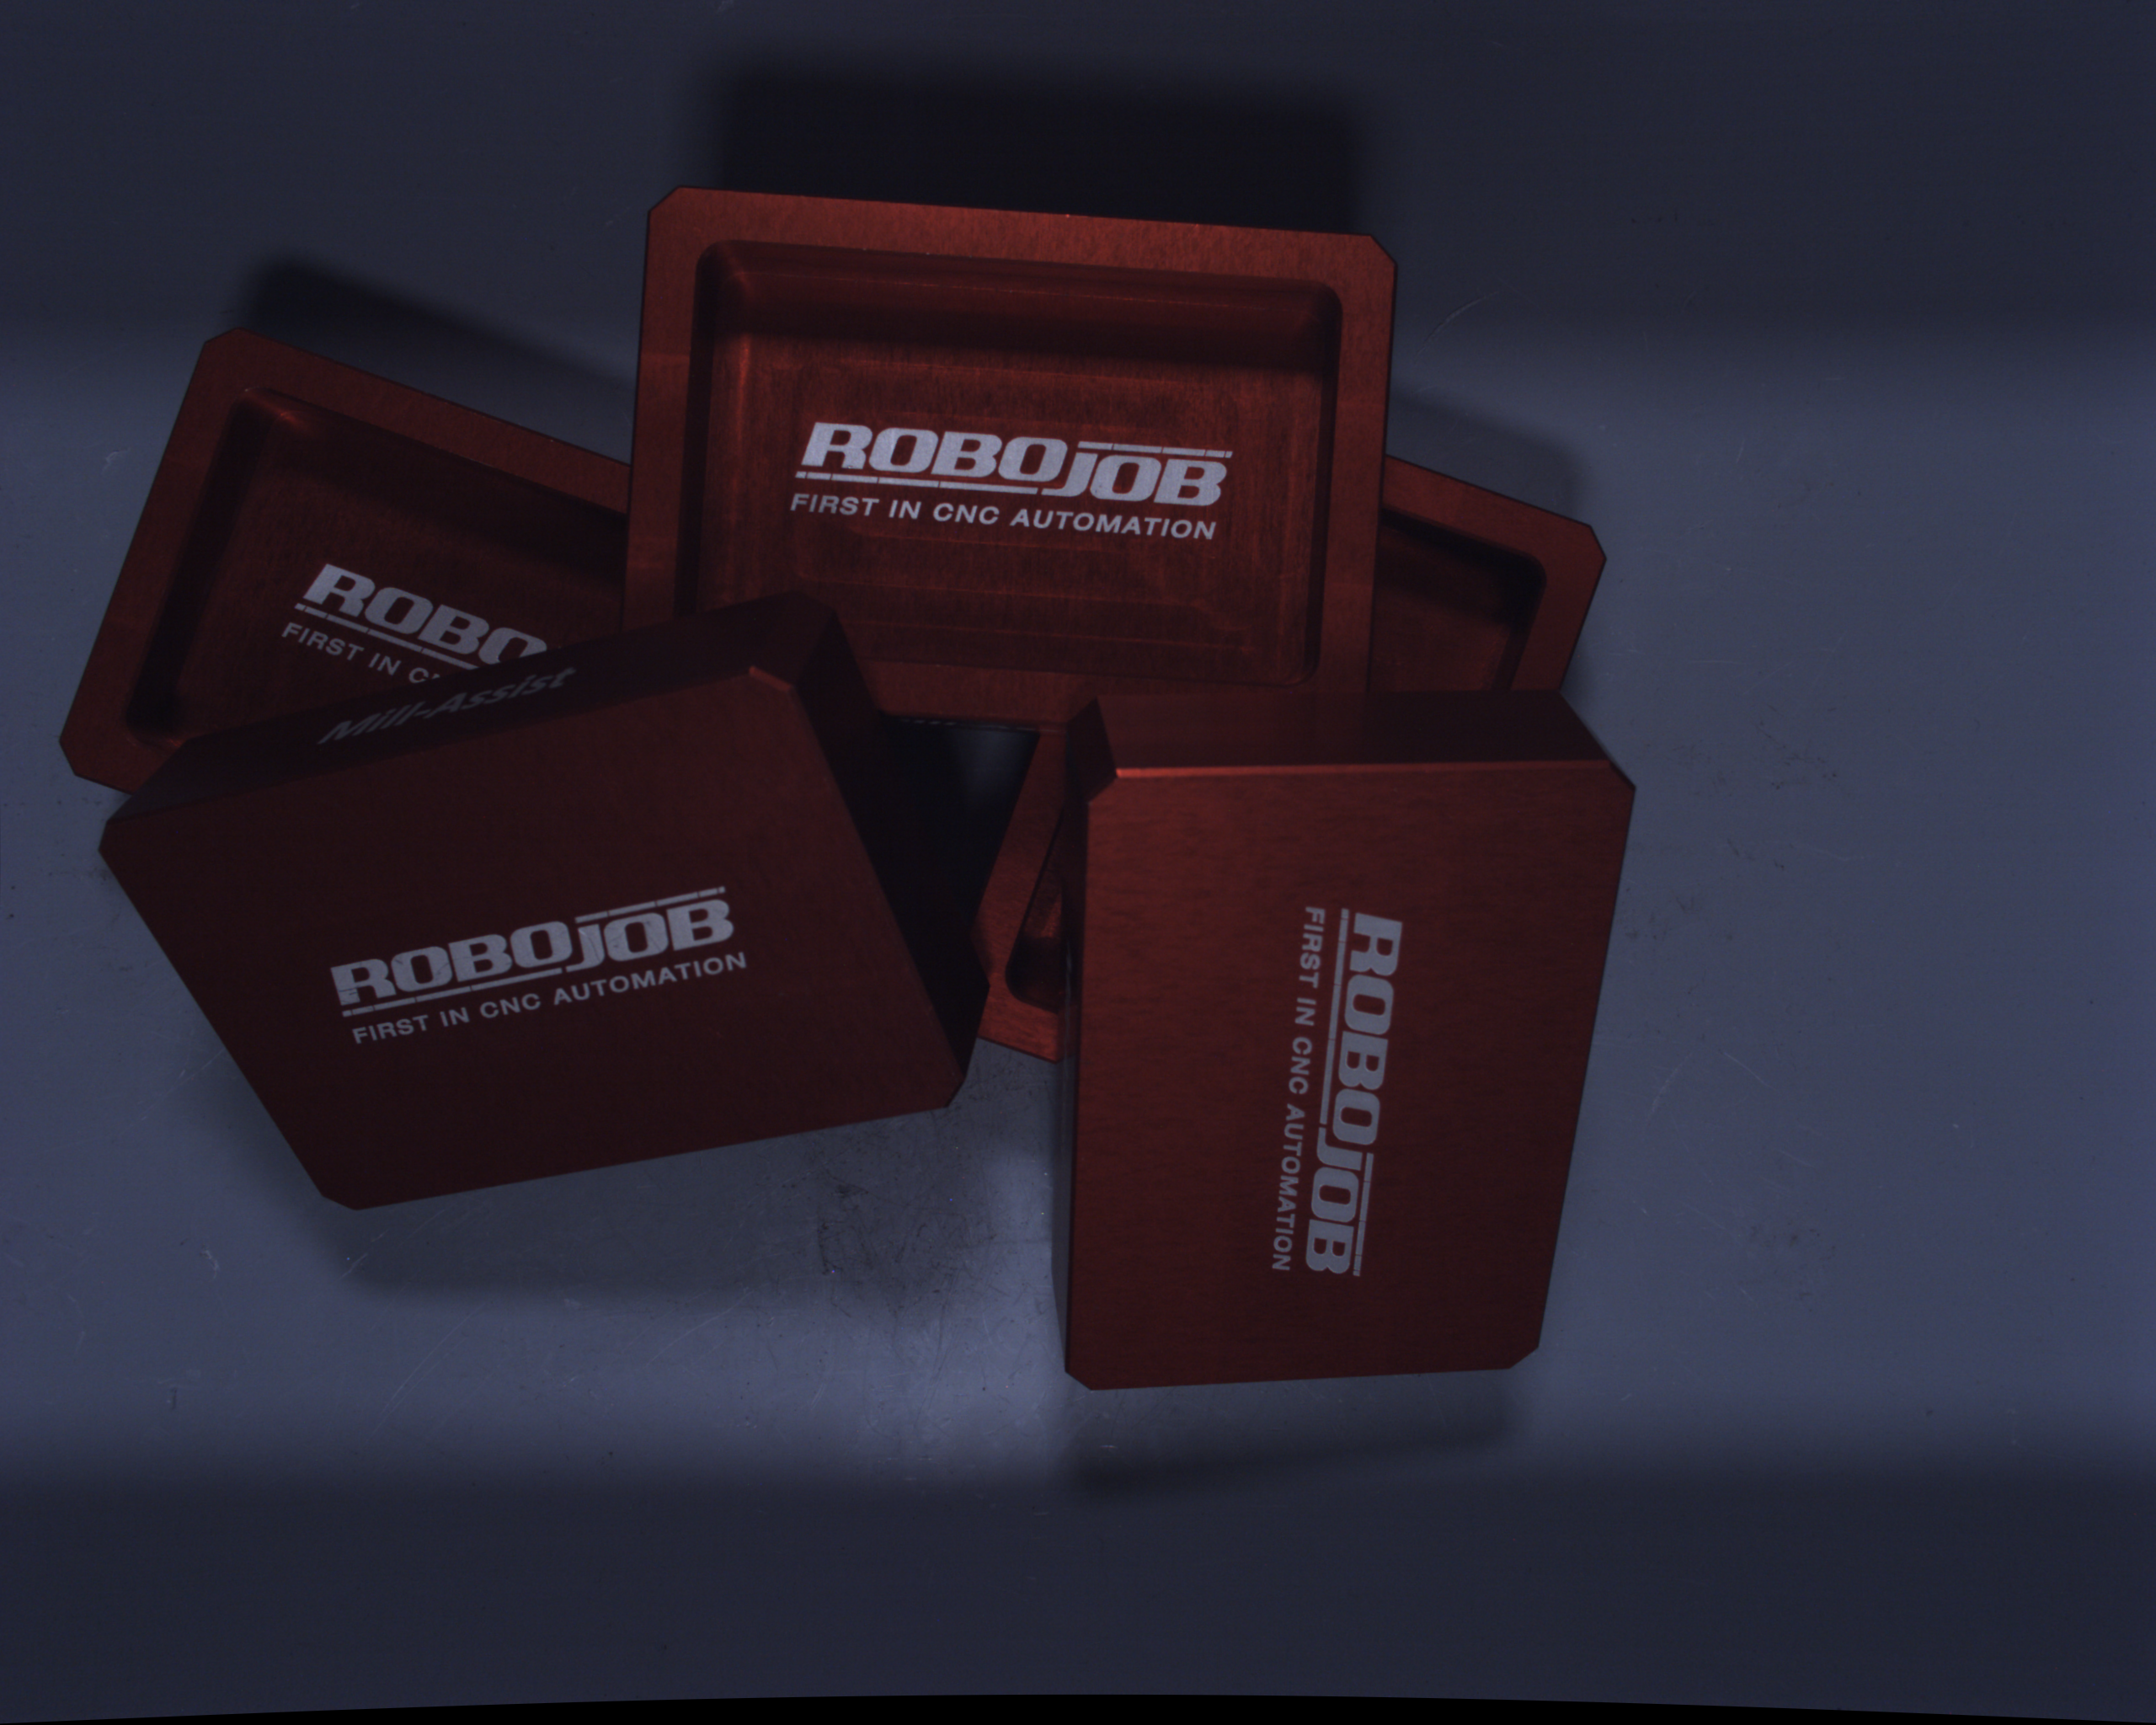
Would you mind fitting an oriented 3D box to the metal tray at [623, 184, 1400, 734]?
[{"bbox_3d":[-0.012,-0.069,0.377,0.131,0.030,0.089,4,90,-1],"label":"metal tray"}]

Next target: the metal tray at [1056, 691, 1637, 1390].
[{"bbox_3d":[0.043,0.034,0.376,0.091,0.030,0.129,-1,119,-6],"label":"metal tray"}]

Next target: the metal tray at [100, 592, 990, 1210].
[{"bbox_3d":[-0.092,0.011,0.372,0.130,0.030,0.090,-12,120,15],"label":"metal tray"}]

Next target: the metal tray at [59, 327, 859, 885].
[{"bbox_3d":[-0.115,-0.038,0.404,0.131,0.030,0.090,20,90,-1],"label":"metal tray"}]

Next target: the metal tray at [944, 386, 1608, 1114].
[{"bbox_3d":[0.037,-0.016,0.408,0.090,0.030,0.129,19,90,-1],"label":"metal tray"}]
